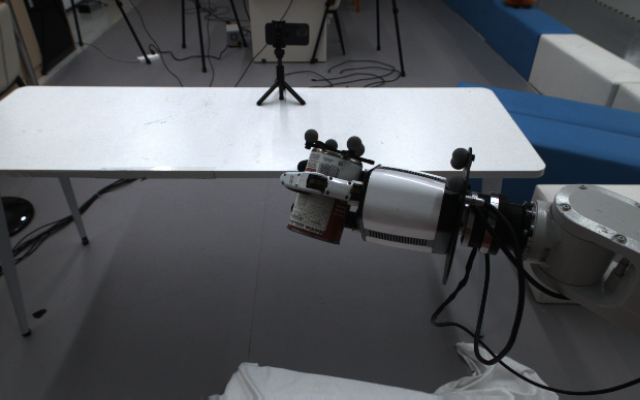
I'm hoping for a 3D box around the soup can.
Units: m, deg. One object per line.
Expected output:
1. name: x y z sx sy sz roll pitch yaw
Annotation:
1. soup can: 0.008 -0.004 0.587 0.067 0.101 0.067 17 -1 0
